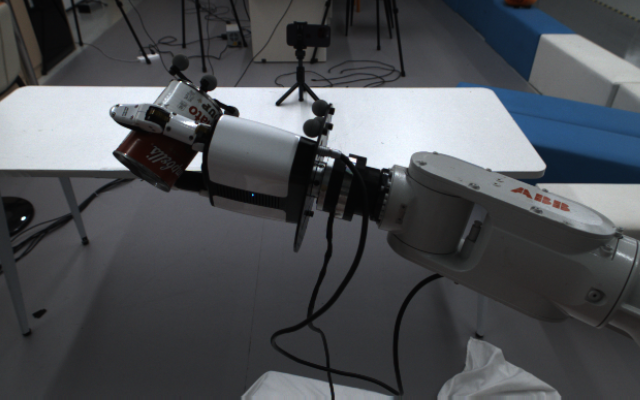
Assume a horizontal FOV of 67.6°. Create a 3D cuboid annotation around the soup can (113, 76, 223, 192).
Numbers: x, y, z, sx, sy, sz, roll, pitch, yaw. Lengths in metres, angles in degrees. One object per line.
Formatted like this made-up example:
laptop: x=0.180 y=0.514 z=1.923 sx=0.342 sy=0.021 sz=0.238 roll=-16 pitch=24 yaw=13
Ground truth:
soup can: x=-0.158 y=-0.067 z=0.511 sx=0.067 sy=0.067 sz=0.101 roll=24 pitch=72 yaw=28
